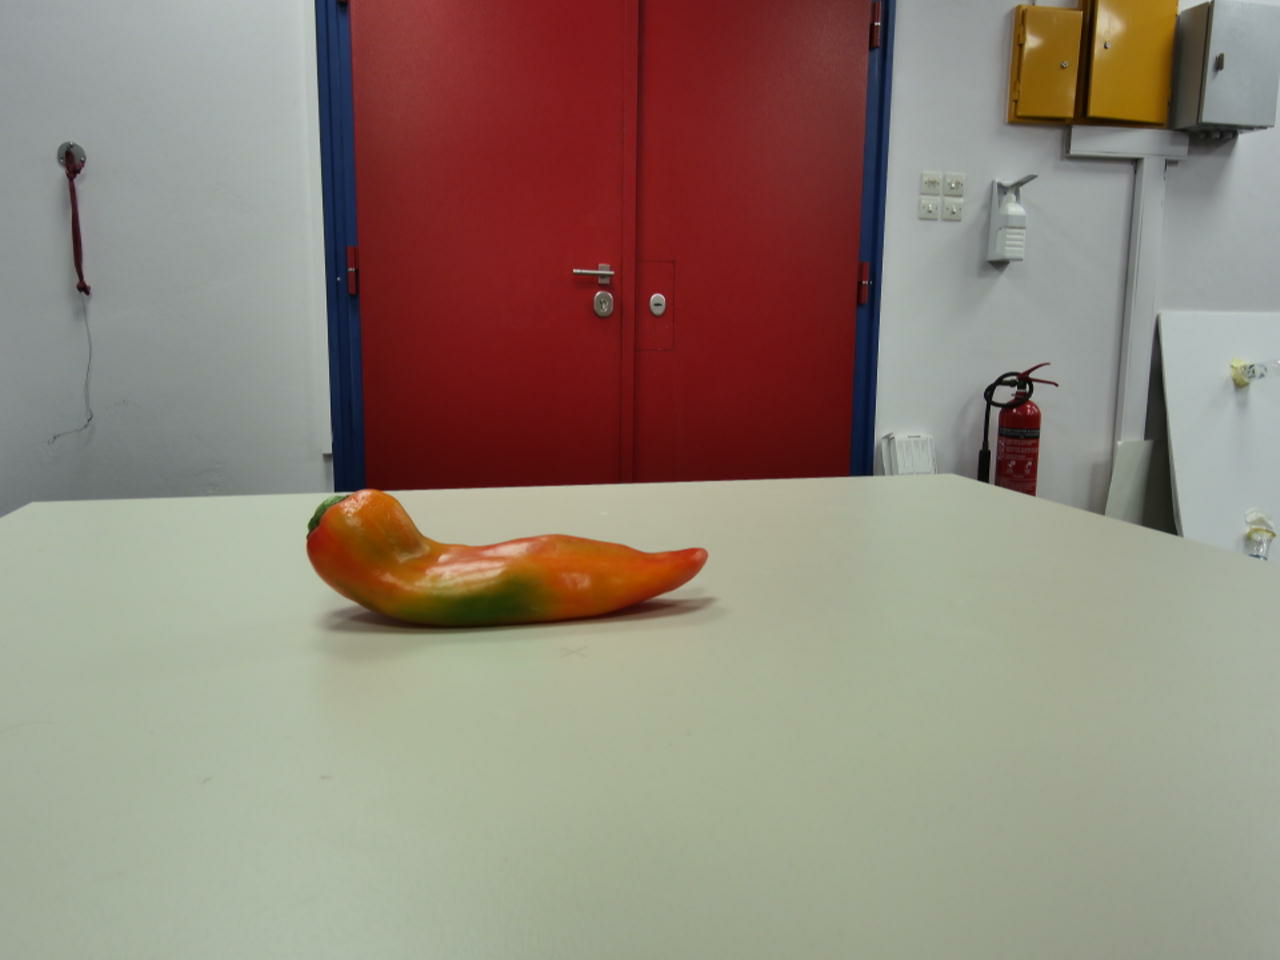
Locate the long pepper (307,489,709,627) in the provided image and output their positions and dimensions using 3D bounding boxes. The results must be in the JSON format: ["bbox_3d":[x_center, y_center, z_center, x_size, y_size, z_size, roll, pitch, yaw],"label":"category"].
[{"bbox_3d":[-0.062,0.035,0.495,0.199,0.065,0.066,-1,7,-8],"label":"long pepper"}]
